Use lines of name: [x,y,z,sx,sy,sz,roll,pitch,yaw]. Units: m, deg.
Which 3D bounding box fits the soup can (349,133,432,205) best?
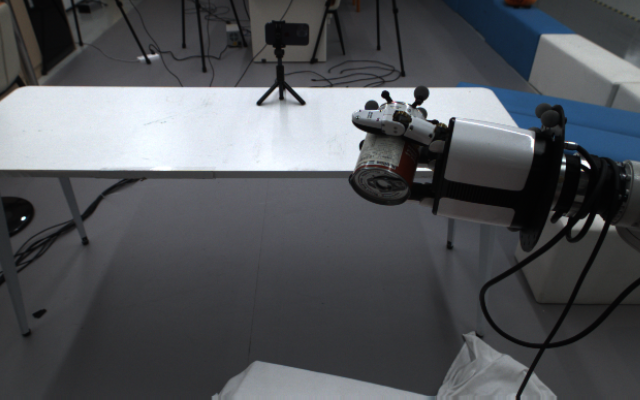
soup can: [0.082,-0.056,0.556,0.067,0.067,0.101,12,59,14]
